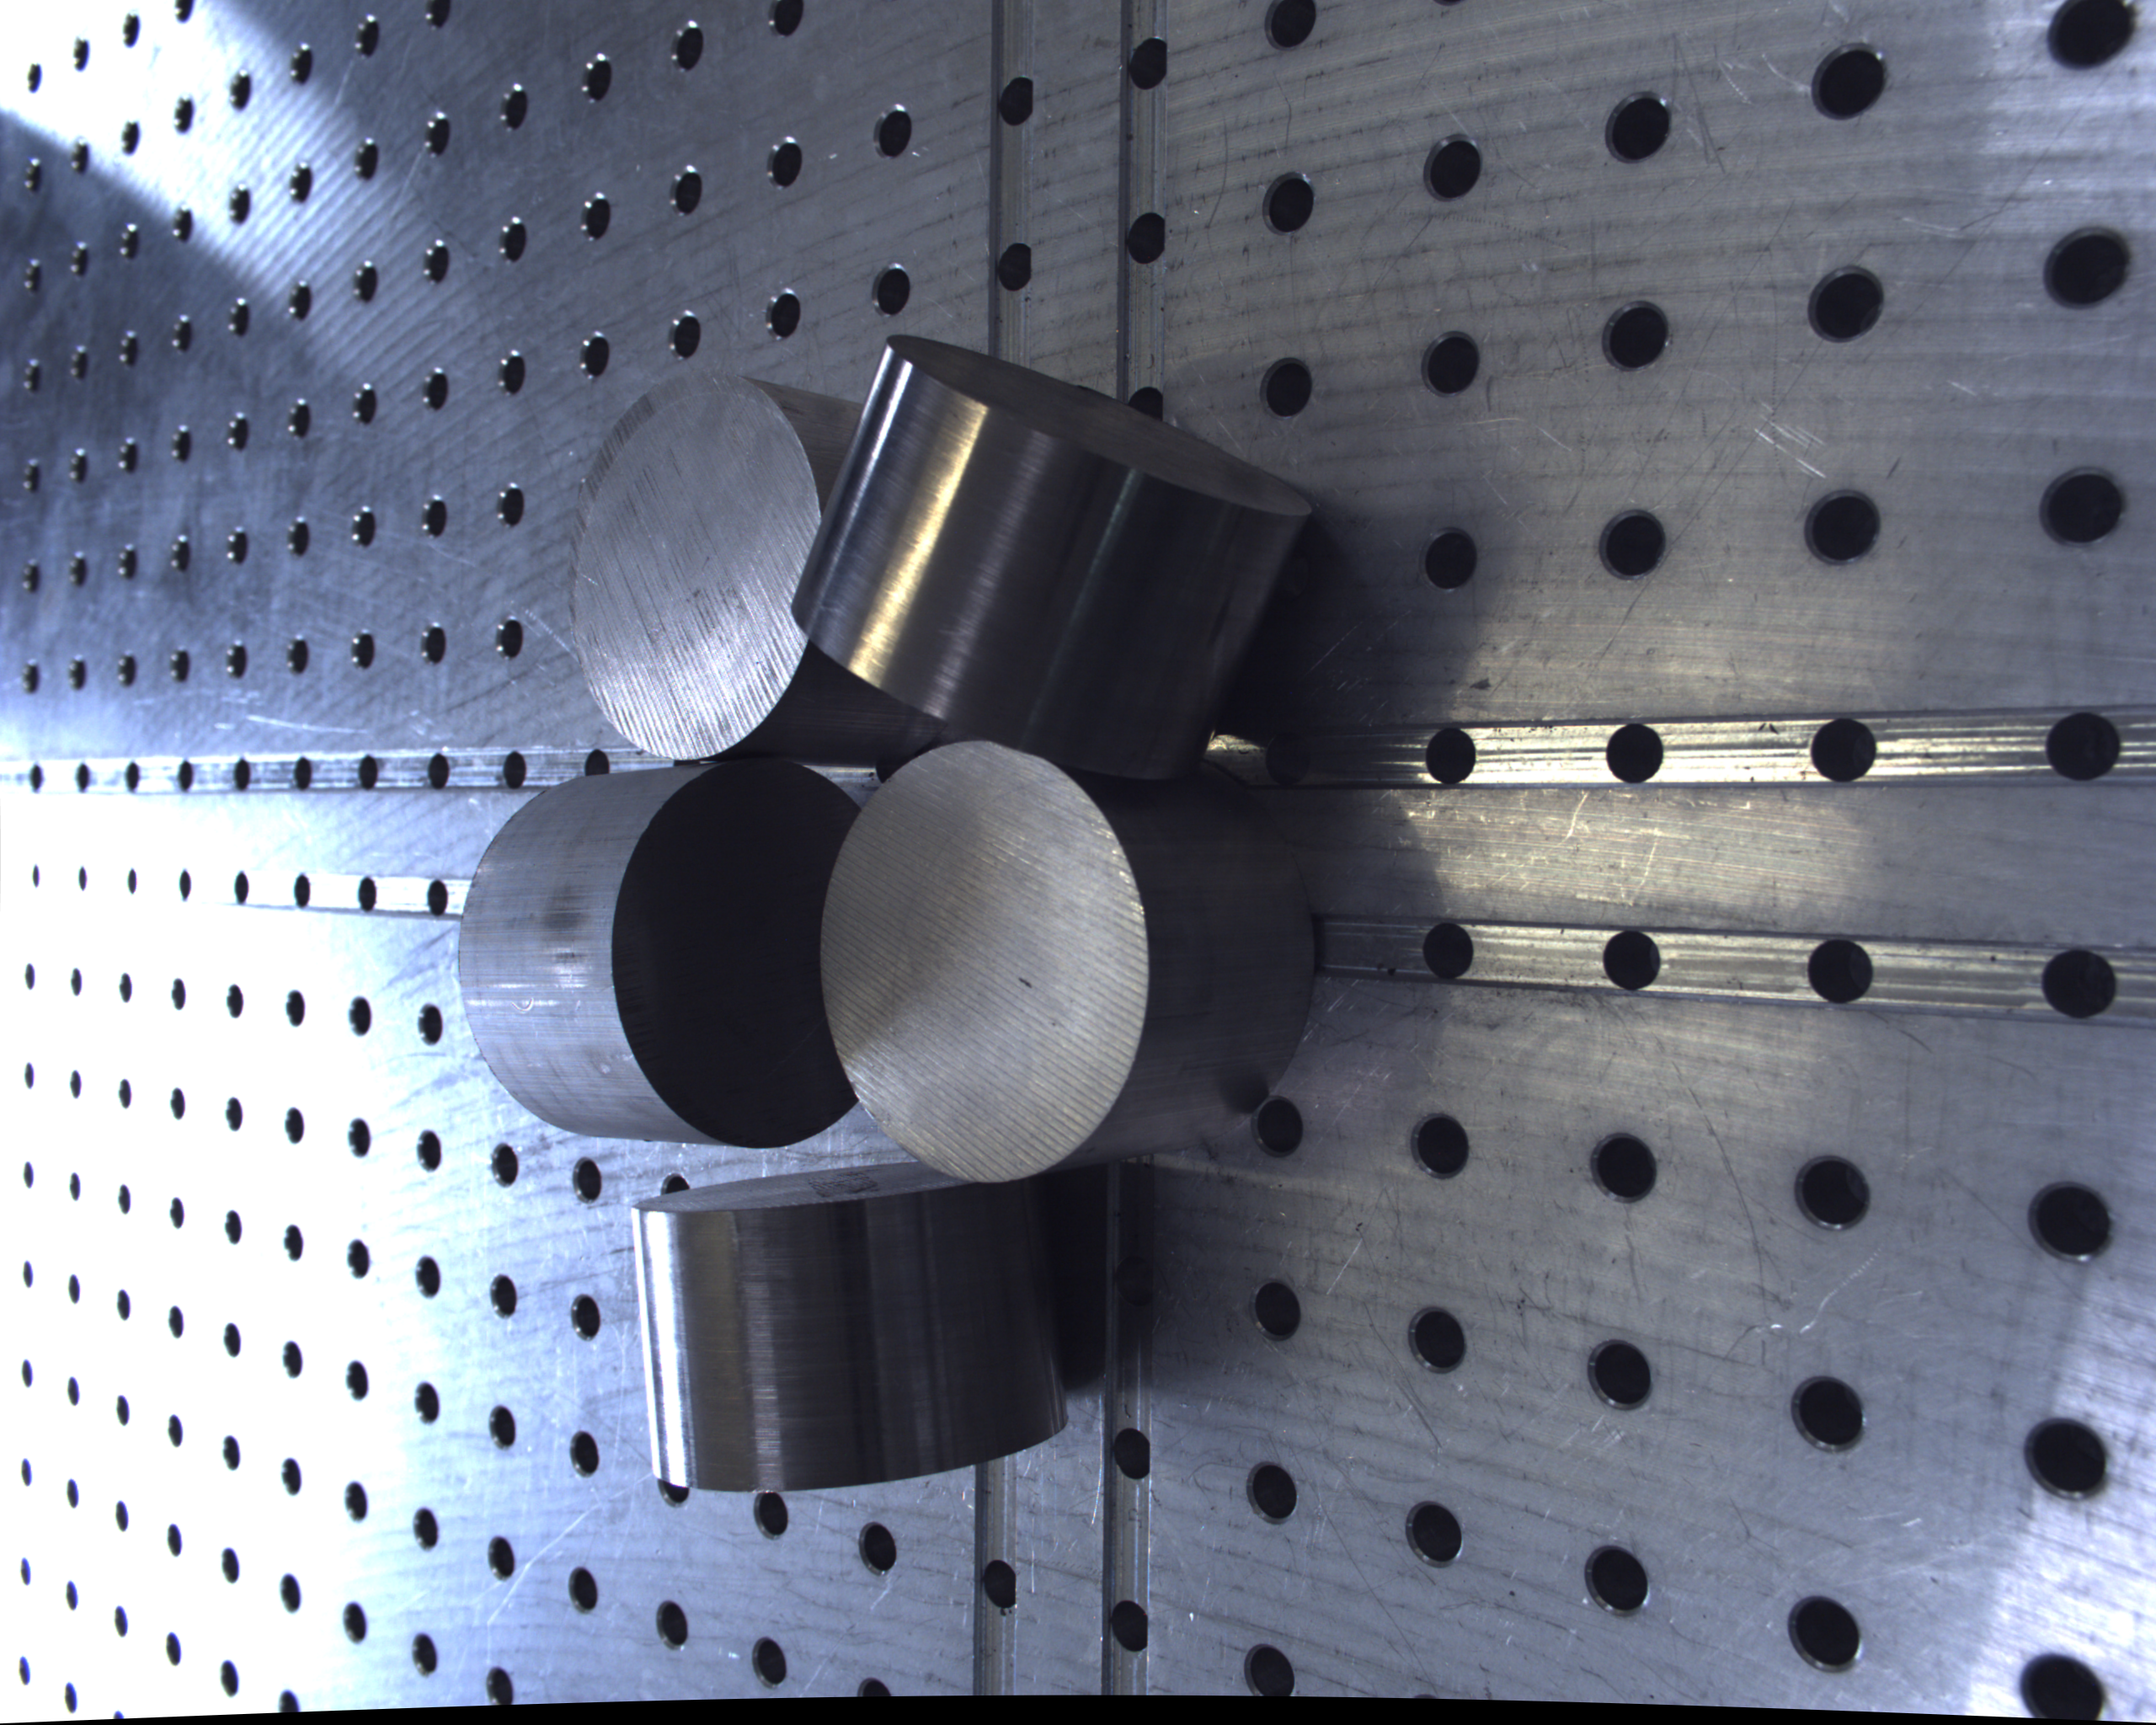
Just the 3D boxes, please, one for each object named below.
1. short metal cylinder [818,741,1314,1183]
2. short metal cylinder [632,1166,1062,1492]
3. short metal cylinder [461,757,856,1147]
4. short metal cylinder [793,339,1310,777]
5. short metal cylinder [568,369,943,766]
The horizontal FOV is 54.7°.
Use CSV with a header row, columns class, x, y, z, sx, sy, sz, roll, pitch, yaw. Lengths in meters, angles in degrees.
class,x,y,z,sx,sy,sz,roll,pitch,yaw
short metal cylinder,-0.003,0.018,0.396,0.080,0.050,0.079,1,91,39
short metal cylinder,-0.045,0.088,0.410,0.080,0.081,0.050,-8,86,40
short metal cylinder,-0.081,0.019,0.442,0.050,0.081,0.080,-3,88,39
short metal cylinder,-0.005,-0.056,0.378,0.080,0.081,0.050,35,111,34
short metal cylinder,-0.064,-0.061,0.445,0.080,0.050,0.079,0,91,41
